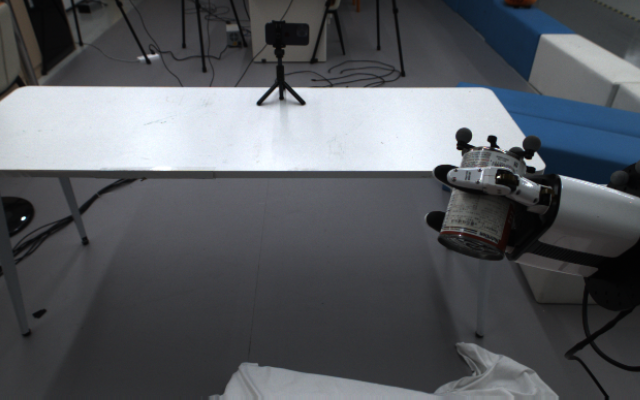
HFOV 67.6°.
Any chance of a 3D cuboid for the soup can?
[{"bbox_3d":[0.171,0.001,0.509,0.067,0.067,0.101,16,75,19],"label":"soup can"}]
